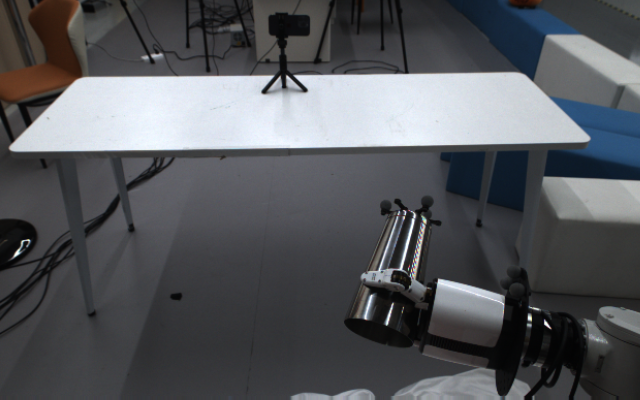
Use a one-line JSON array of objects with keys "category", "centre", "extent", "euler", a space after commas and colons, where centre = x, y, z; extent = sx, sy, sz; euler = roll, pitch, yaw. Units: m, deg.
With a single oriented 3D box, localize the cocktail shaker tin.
[{"category": "cocktail shaker tin", "centre": [0.100, 0.100, 0.656], "extent": [0.093, 0.093, 0.170], "euler": [14, 59, 16]}]
